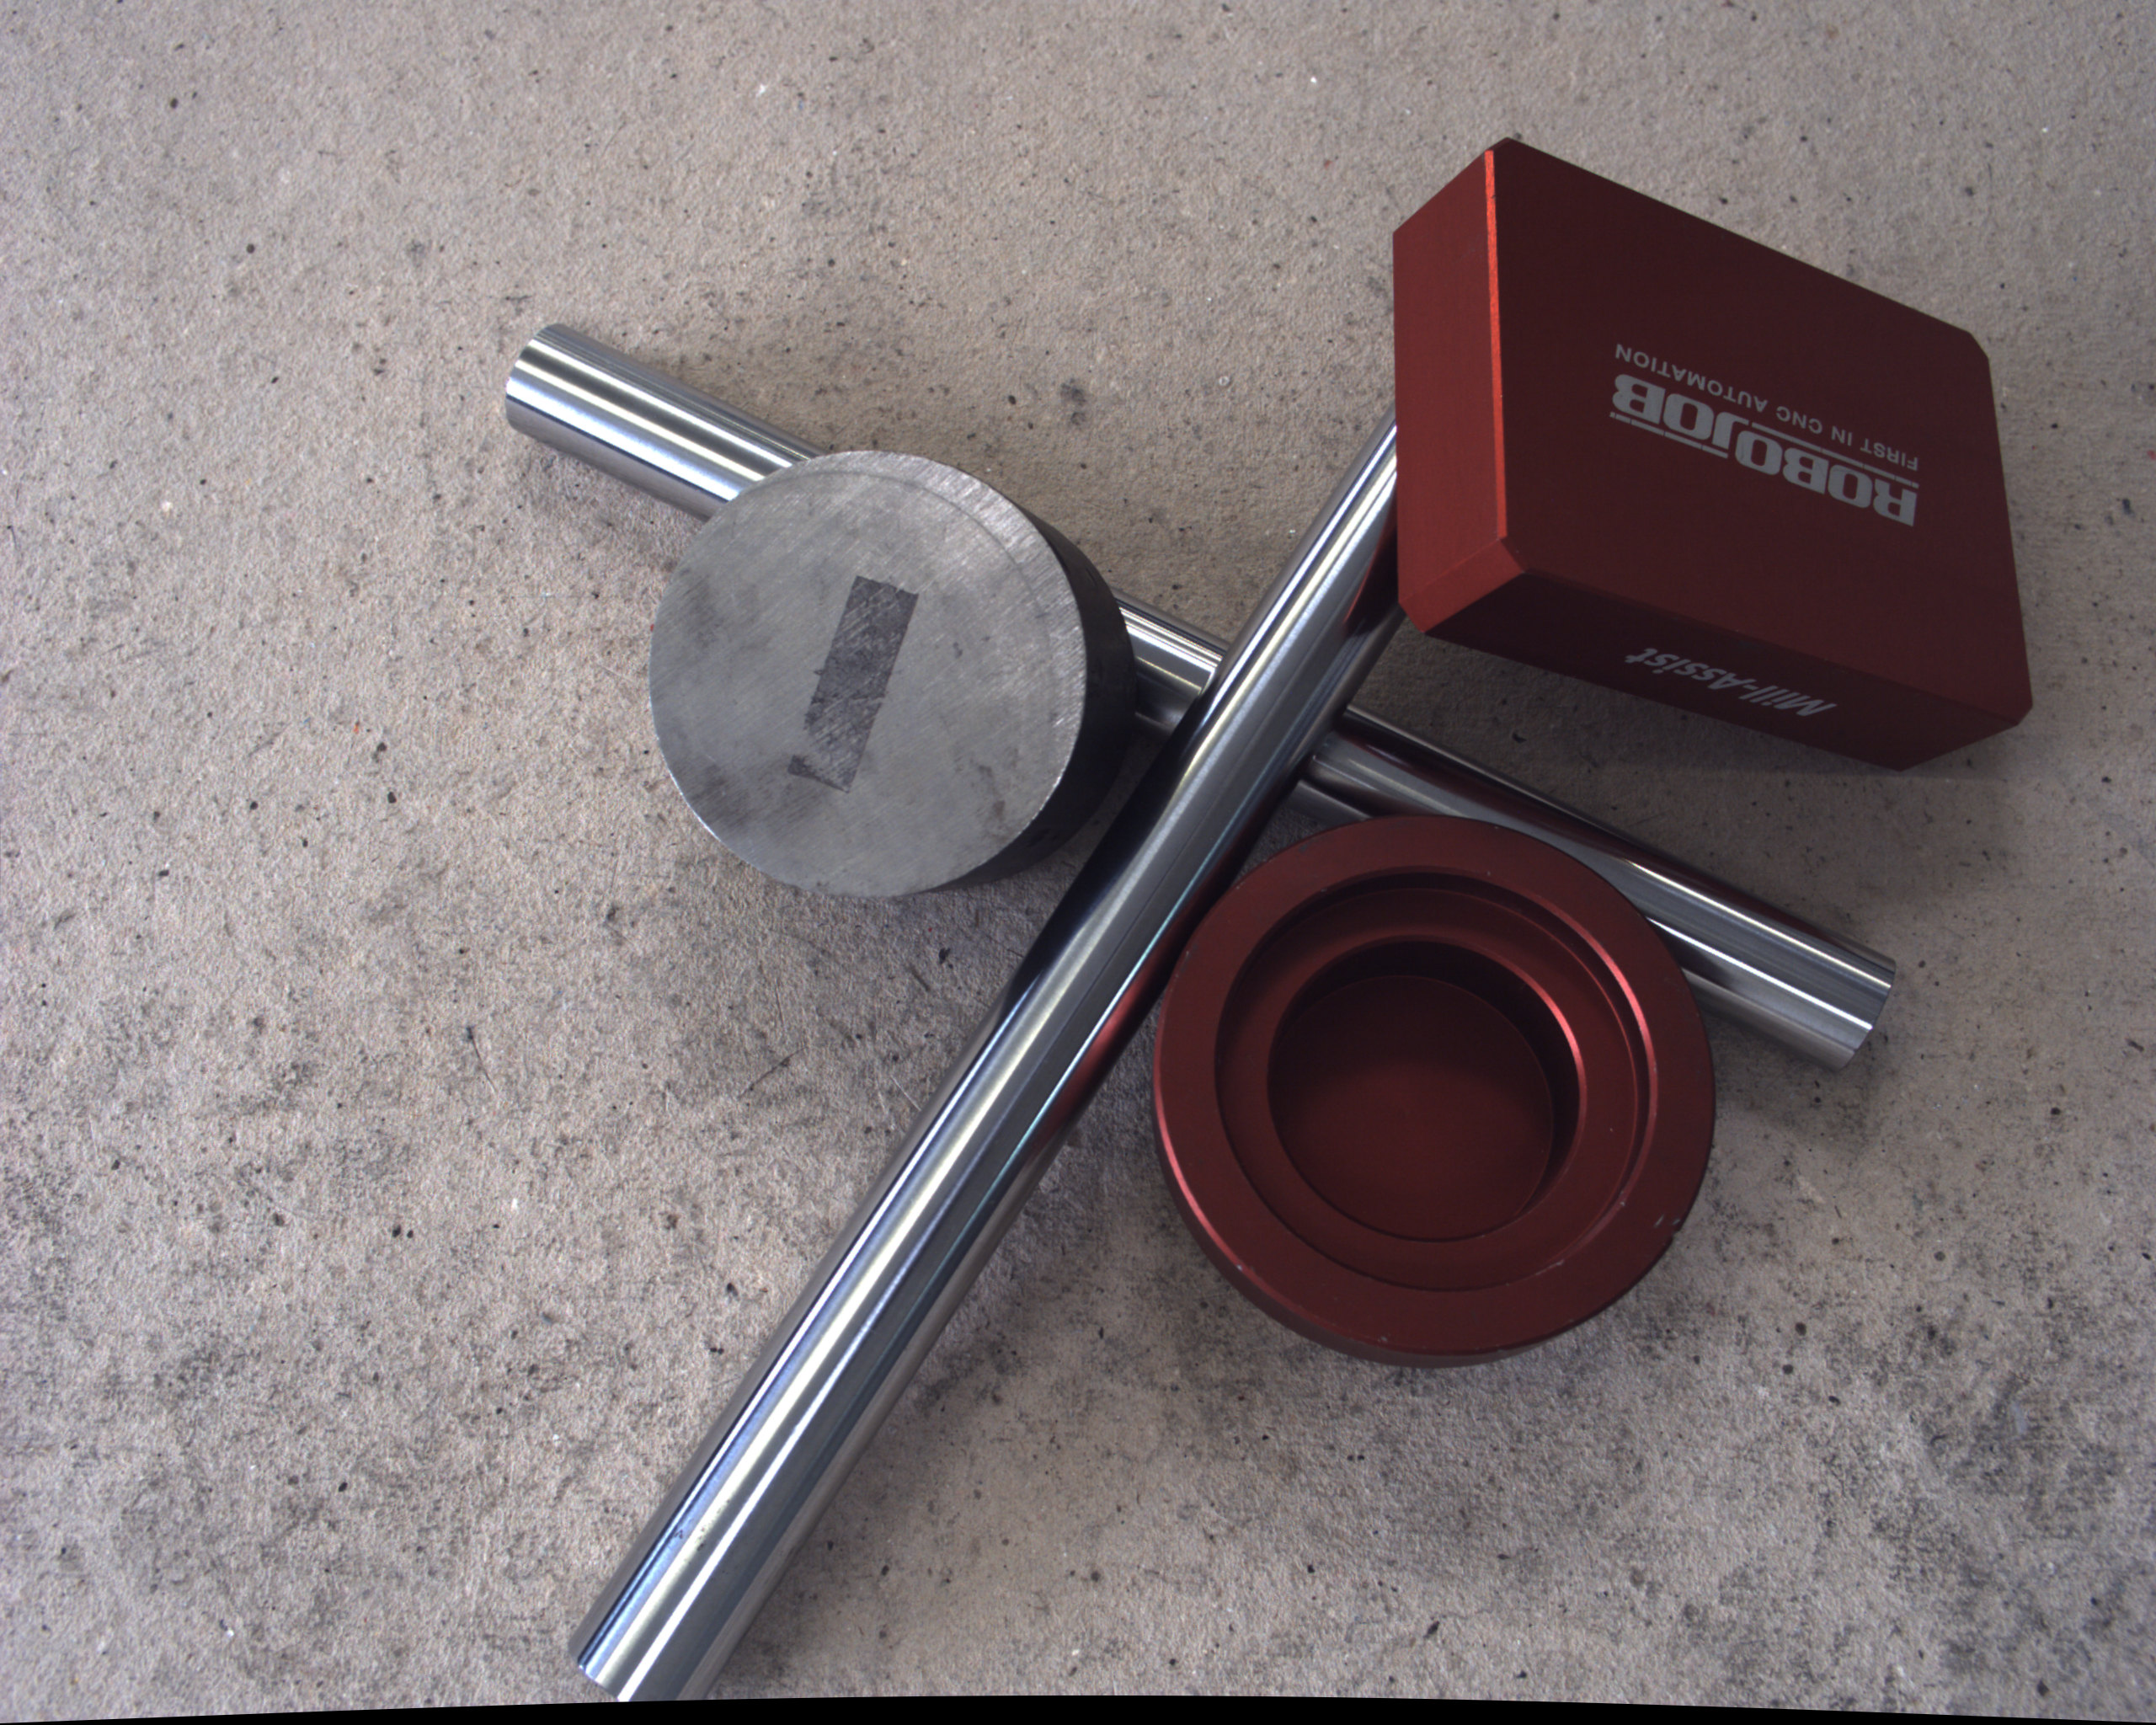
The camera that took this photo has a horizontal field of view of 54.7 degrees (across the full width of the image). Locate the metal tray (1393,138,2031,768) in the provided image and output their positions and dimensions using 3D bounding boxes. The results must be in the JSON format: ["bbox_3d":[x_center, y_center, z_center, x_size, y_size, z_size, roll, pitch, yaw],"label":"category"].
[{"bbox_3d":[0.124,-0.076,0.405,0.131,0.030,0.090,12,68,-26],"label":"metal tray"}]

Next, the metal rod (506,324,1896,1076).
[{"bbox_3d":[0.018,-0.037,0.424,0.301,0.025,0.025,27,72,9],"label":"metal rod"}]

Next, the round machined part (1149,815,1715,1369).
[{"bbox_3d":[0.062,0.044,0.385,0.099,0.042,0.098,0,70,0],"label":"round machined part"}]

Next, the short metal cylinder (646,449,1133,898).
[{"bbox_3d":[-0.034,-0.034,0.394,0.080,0.050,0.080,0,90,11],"label":"short metal cylinder"}]

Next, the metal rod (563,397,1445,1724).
[{"bbox_3d":[0.004,0.018,0.384,0.025,0.025,0.300,32,79,11],"label":"metal rod"}]
